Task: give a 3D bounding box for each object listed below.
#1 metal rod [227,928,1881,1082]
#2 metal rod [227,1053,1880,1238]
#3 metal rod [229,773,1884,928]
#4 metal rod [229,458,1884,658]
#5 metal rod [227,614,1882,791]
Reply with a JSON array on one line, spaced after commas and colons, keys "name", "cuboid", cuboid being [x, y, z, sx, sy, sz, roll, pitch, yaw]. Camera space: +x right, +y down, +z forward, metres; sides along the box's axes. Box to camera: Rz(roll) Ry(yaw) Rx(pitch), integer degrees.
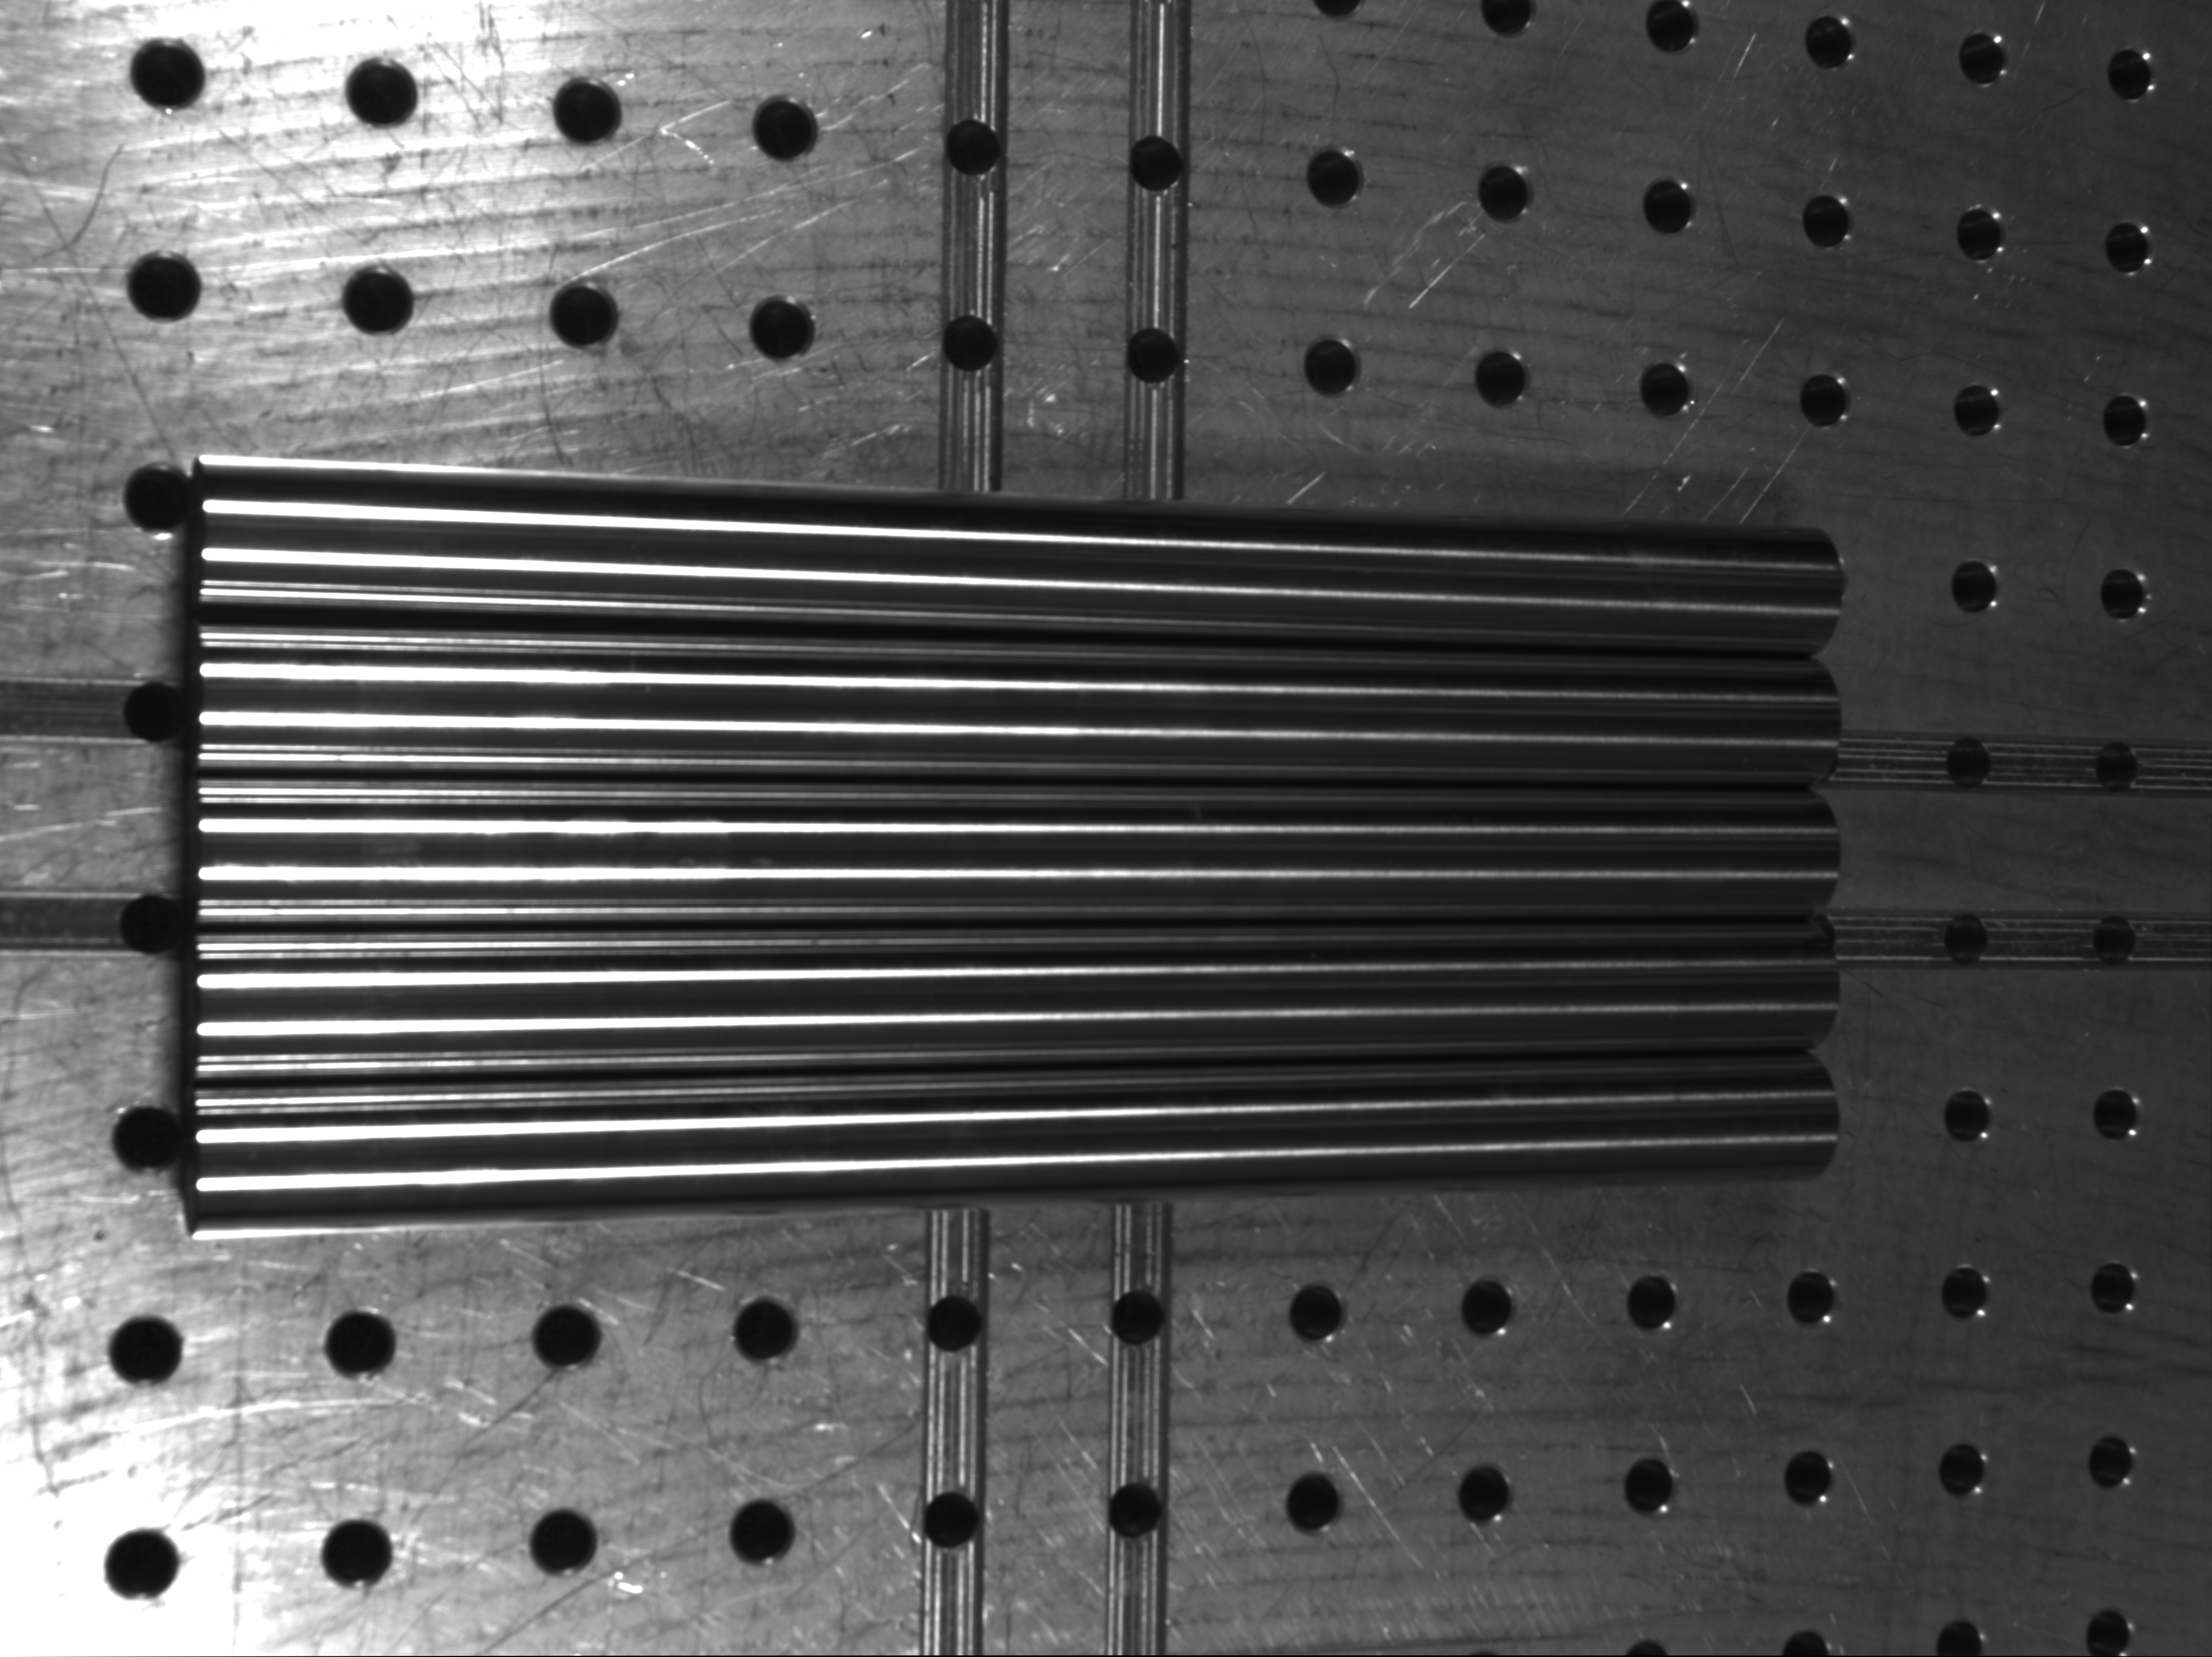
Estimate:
[{"name": "metal rod", "cuboid": [0.000, 0.030, 0.645, 0.301, 0.025, 0.025, 1, 90, -20]}, {"name": "metal rod", "cuboid": [-0.001, 0.054, 0.645, 0.301, 0.025, 0.025, 0, 90, -20]}, {"name": "metal rod", "cuboid": [0.000, 0.005, 0.646, 0.301, 0.025, 0.025, 1, 90, -20]}, {"name": "metal rod", "cuboid": [0.000, -0.046, 0.646, 0.301, 0.025, 0.025, 1, 90, -20]}, {"name": "metal rod", "cuboid": [0.000, -0.021, 0.646, 0.301, 0.025, 0.025, 1, 90, -20]}]
